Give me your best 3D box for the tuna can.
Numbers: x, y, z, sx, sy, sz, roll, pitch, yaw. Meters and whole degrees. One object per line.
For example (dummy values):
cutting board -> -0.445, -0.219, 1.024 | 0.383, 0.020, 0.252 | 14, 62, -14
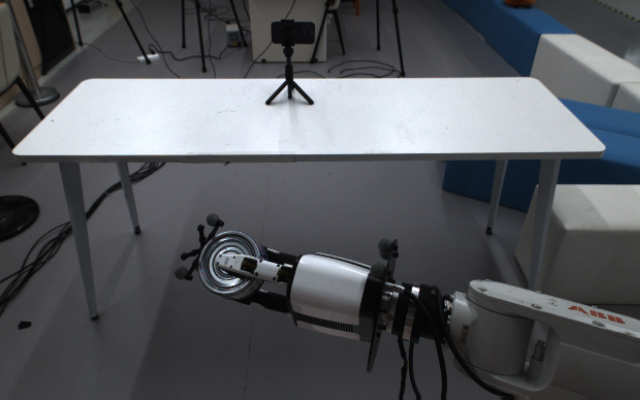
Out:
tuna can -> -0.107, 0.088, 0.618 | 0.085, 0.034, 0.085 | -3, 70, 9
